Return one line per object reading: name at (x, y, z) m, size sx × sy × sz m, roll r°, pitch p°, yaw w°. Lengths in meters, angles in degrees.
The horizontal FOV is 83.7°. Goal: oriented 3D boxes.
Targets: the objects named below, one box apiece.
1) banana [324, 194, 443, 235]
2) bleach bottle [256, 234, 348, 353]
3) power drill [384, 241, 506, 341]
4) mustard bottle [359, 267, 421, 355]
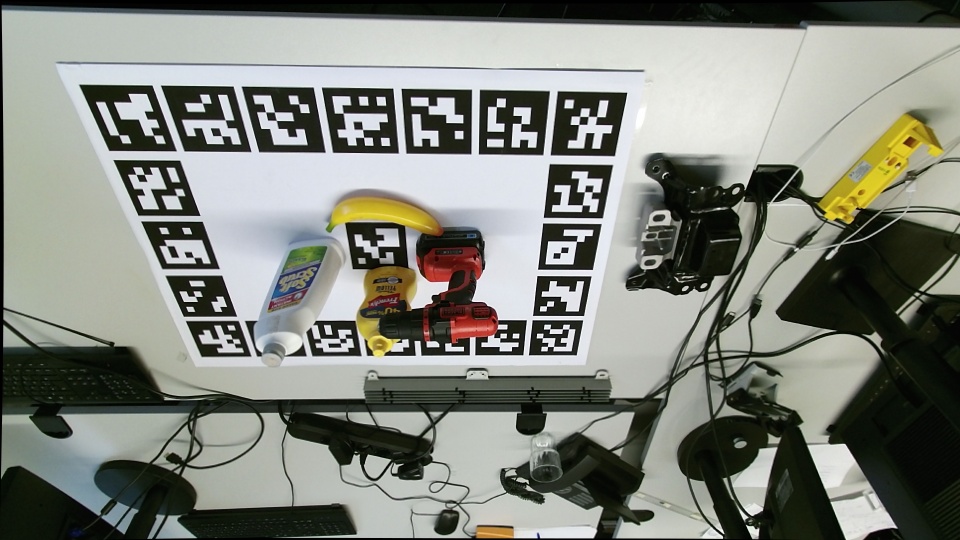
banana at (-0.159, -0.089, 0.882) m, size 0.198 × 0.038 × 0.074 m, roll 2°, pitch 122°, yaw -5°
bleach bottle at (-0.284, 0.035, 0.851) m, size 0.103 × 0.250 × 0.068 m, roll -7°, pitch 124°, yaw 3°
power drill at (-0.052, 0.032, 0.858) m, size 0.185 × 0.186 × 0.057 m, roll -1°, pitch 132°, yaw 2°
mustard bottle at (-0.155, 0.070, 0.906) m, size 0.096 × 0.190 × 0.058 m, roll 1°, pitch 126°, yaw -1°
